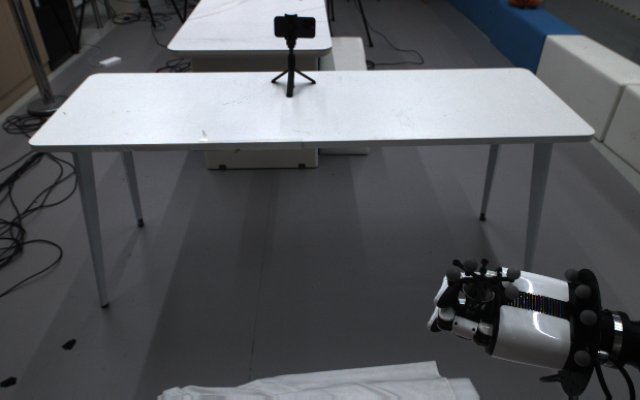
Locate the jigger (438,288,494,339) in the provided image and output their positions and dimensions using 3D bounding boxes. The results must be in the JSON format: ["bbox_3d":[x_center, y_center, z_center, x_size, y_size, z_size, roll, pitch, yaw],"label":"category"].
[{"bbox_3d":[0.203,0.142,0.640,0.043,0.071,0.043,4,31,-2],"label":"jigger"}]
